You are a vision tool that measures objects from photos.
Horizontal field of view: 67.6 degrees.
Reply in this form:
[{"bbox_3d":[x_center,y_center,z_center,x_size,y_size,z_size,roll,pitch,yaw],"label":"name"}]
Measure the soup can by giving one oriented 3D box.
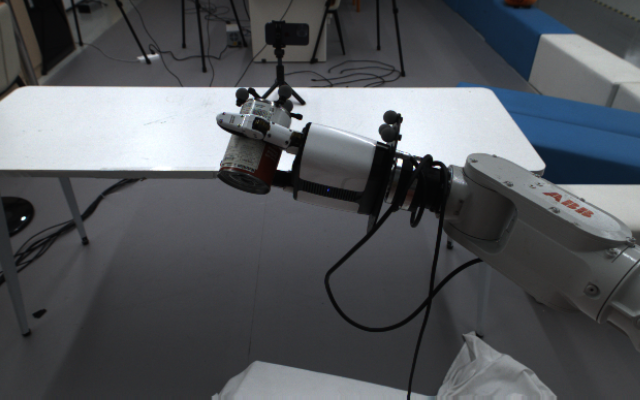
[{"bbox_3d":[-0.081,-0.066,0.605,0.067,0.067,0.101,11,72,13],"label":"soup can"}]
